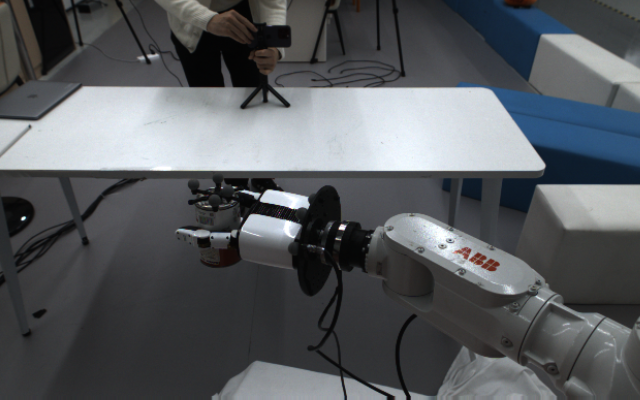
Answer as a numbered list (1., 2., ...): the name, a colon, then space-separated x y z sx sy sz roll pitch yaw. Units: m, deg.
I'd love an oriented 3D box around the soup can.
1. soup can: -0.153 0.045 0.738 0.067 0.101 0.067 1 25 0
